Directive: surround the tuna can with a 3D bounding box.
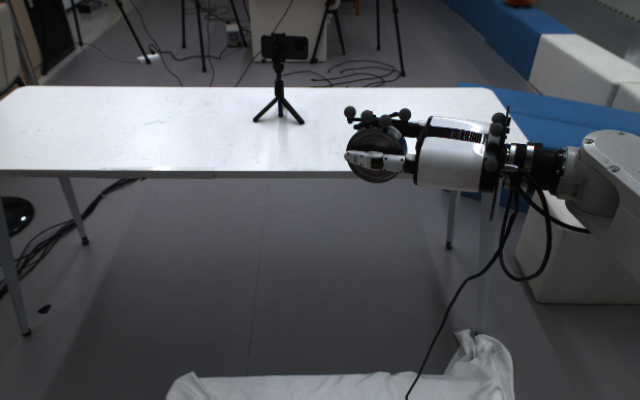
[{"bbox_3d":[0.085,-0.073,0.711,0.085,0.085,0.034,14,29,16],"label":"tuna can"}]
